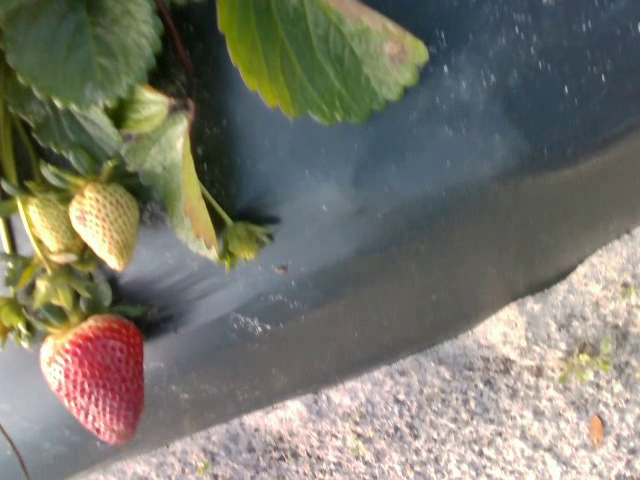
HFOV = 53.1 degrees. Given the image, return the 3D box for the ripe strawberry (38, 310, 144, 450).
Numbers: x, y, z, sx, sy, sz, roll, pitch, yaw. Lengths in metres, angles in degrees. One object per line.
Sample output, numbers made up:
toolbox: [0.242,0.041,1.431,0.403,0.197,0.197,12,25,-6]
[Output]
ripe strawberry: [-0.109,0.072,0.315,0.052,0.068,0.044,-25,0,20]
